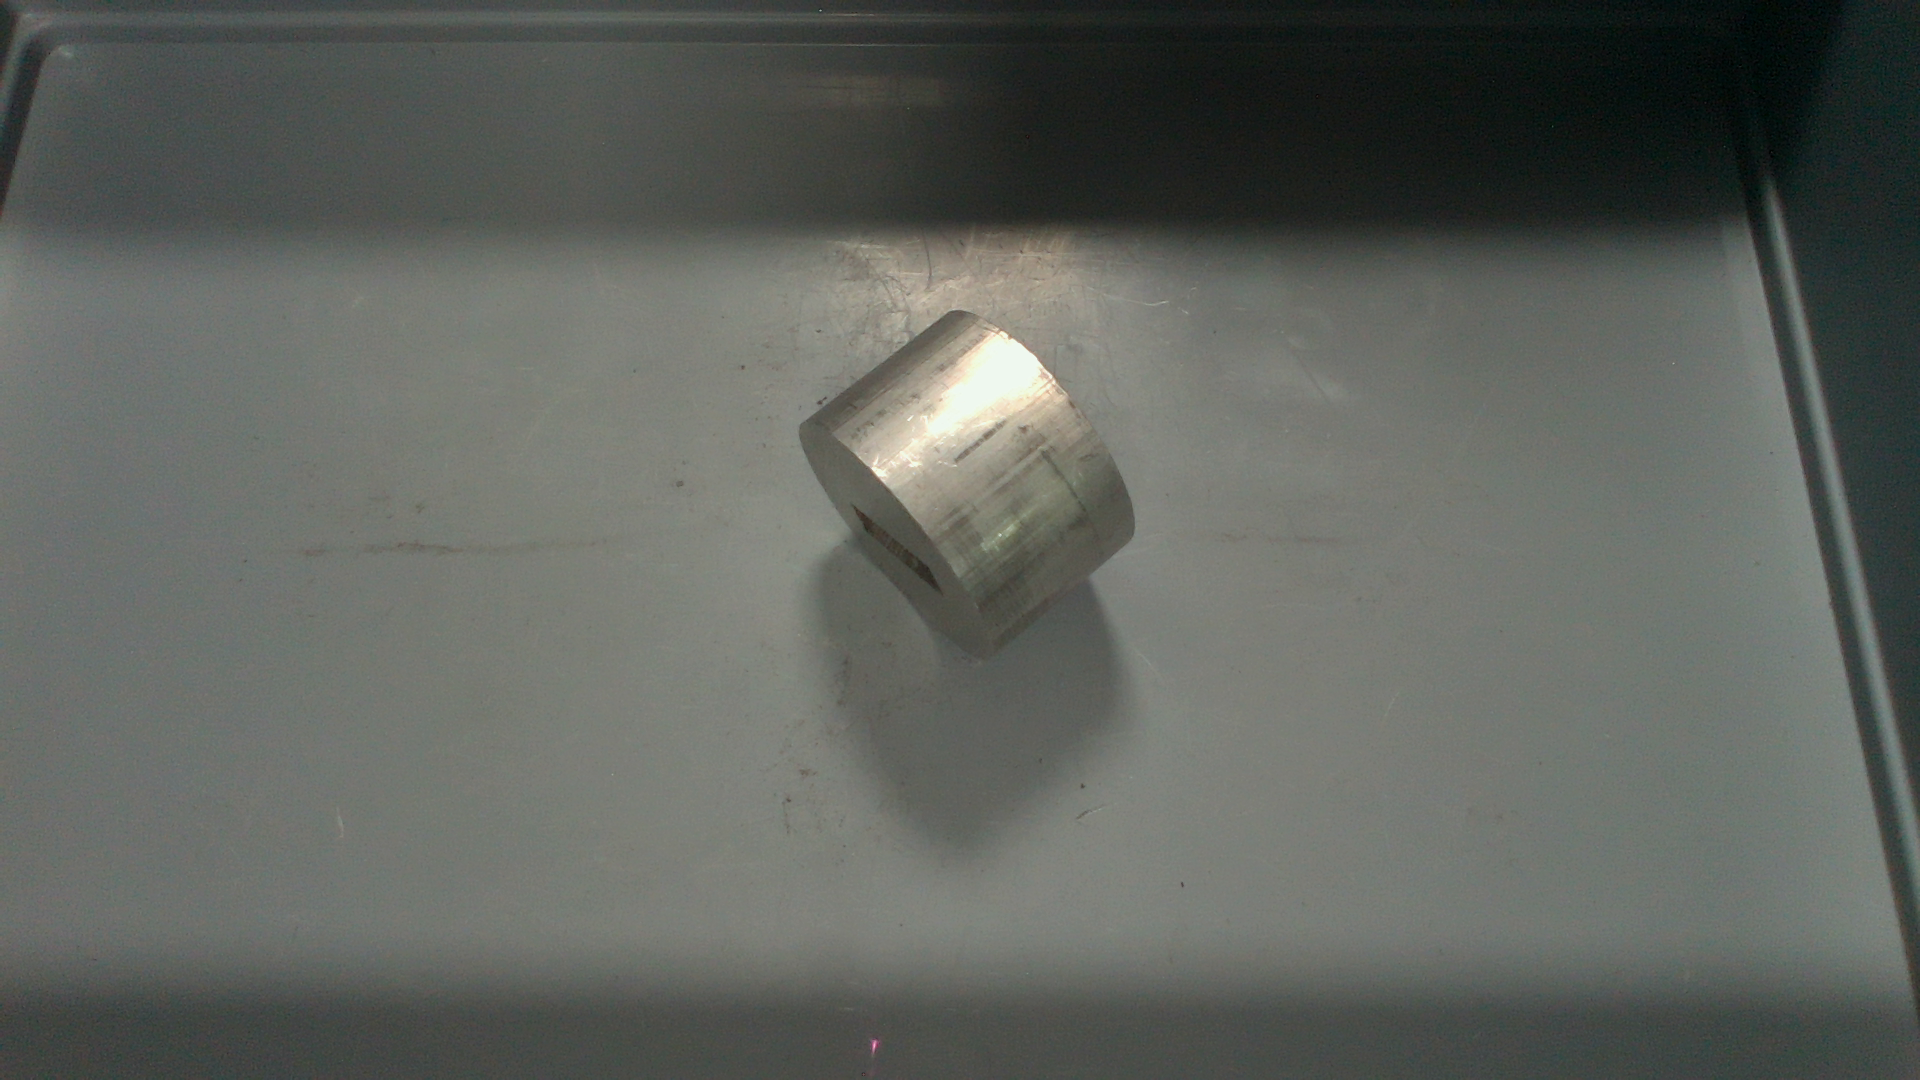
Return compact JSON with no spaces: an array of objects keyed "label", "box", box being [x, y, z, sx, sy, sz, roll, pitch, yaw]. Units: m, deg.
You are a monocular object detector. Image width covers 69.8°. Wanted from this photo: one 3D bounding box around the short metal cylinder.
[{"label":"short metal cylinder","box":[0.001,-0.015,0.369,0.050,0.080,0.080,-40,75,-13]}]
